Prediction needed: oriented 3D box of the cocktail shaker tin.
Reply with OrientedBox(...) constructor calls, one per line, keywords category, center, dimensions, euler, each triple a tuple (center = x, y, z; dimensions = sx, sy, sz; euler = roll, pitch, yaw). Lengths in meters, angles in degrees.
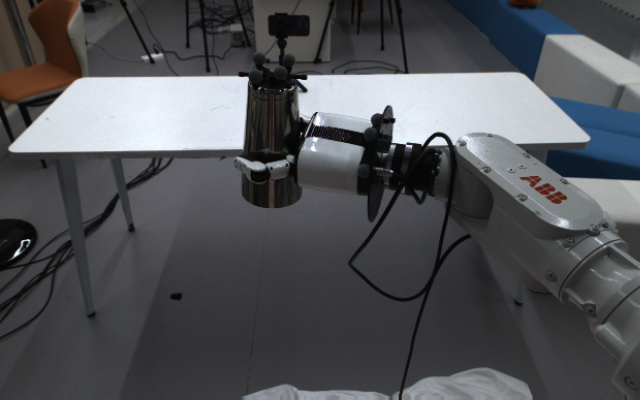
OrientedBox(category="cocktail shaker tin", center=(-0.065, -0.085, 0.679), dimensions=(0.093, 0.170, 0.093), euler=(3, 34, -2))
